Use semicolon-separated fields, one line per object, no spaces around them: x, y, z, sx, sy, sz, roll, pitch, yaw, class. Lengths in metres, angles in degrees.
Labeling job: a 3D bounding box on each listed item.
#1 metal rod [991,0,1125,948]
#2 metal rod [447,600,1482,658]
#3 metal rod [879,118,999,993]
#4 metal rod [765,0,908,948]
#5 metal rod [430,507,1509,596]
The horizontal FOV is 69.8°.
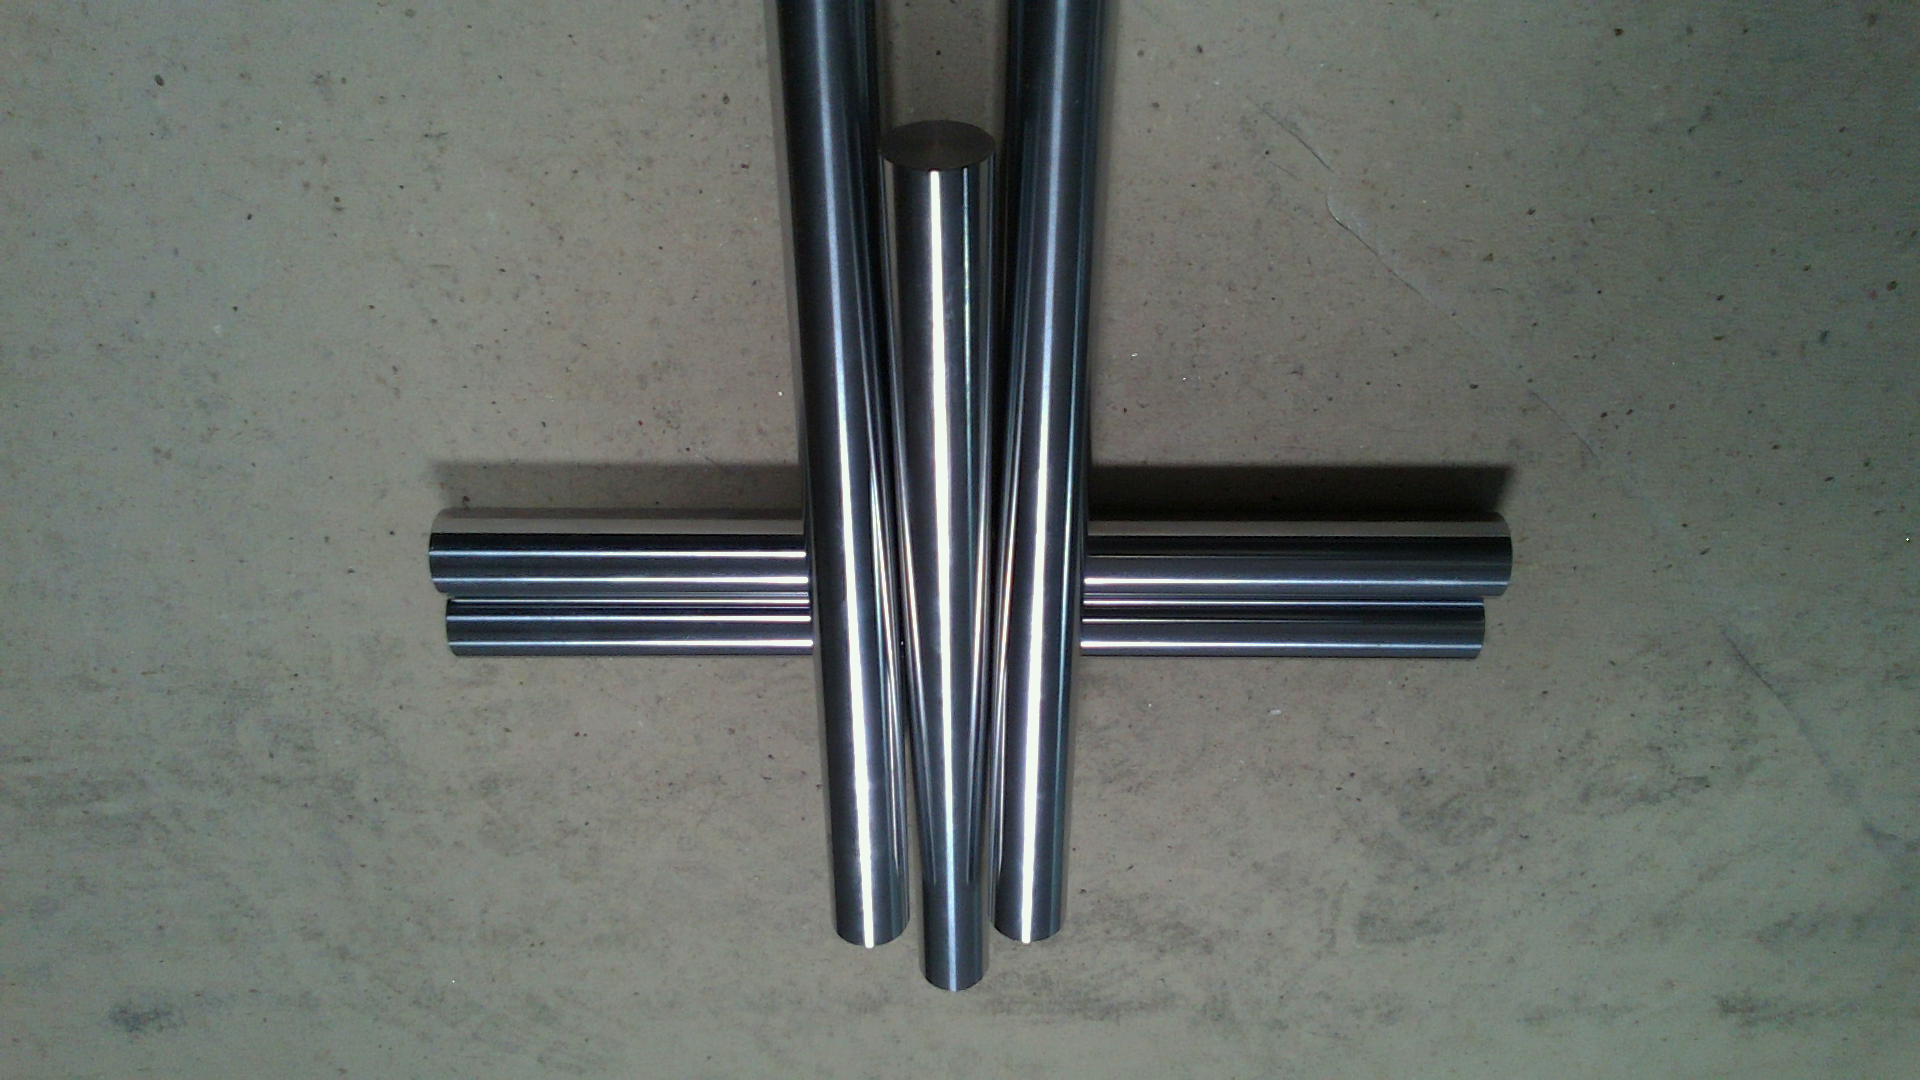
0.022;-0.007;0.356;0.025;0.025;0.300;0;122;0;metal rod
0.002;0.022;0.411;0.300;0.025;0.025;0;130;0;metal rod
-0.003;0.032;0.384;0.025;0.025;0.300;0;130;0;metal rod
-0.029;-0.007;0.357;0.025;0.025;0.300;0;122;0;metal rod
0.003;0.003;0.395;0.300;0.025;0.025;0;130;0;metal rod
